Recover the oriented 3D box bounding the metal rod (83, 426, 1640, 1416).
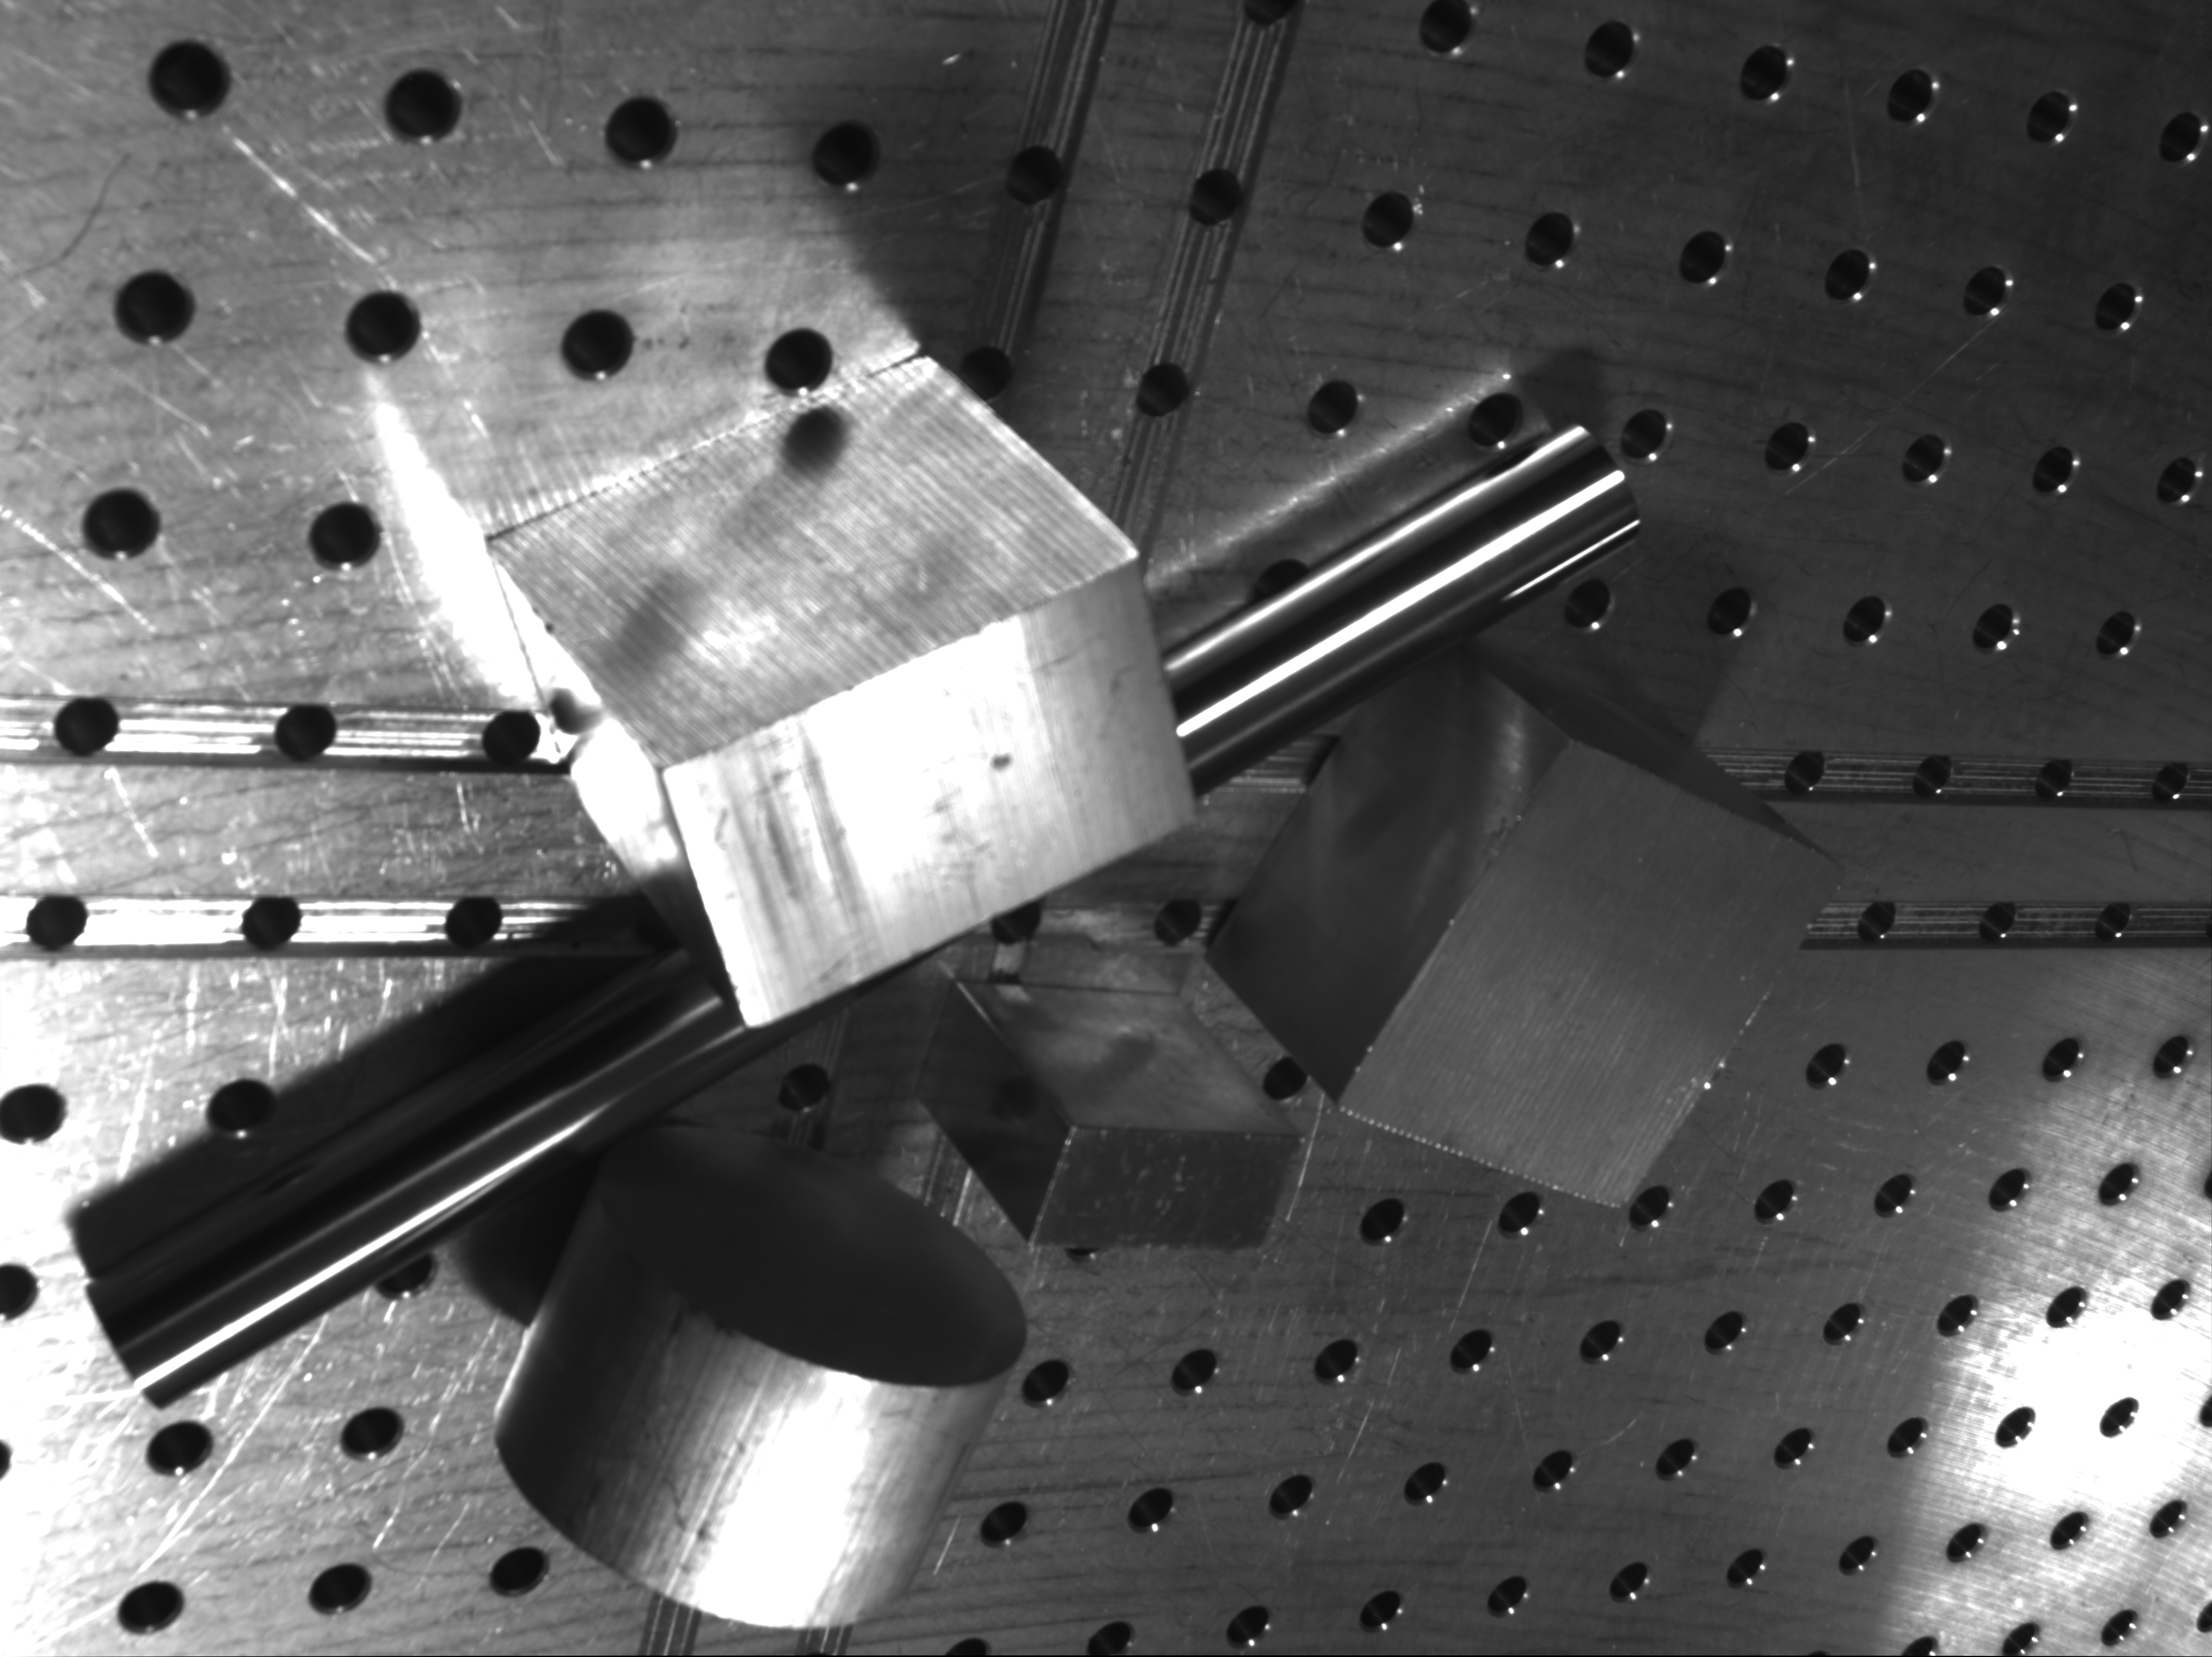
[{"bbox_3d":[-0.037,0.013,0.639,0.300,0.025,0.025,-30,129,-11],"label":"metal rod"}]

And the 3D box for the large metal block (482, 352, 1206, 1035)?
[{"bbox_3d":[-0.042,-0.024,0.580,0.080,0.080,0.050,-26,128,-14],"label":"large metal block"}]

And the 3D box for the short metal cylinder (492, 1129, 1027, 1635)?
[{"bbox_3d":[-0.061,0.096,0.641,0.080,0.080,0.050,13,111,-35],"label":"short metal cylinder"}]

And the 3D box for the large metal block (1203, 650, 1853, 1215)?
[{"bbox_3d":[0.079,0.018,0.692,0.080,0.050,0.080,22,106,-38],"label":"large metal block"}]

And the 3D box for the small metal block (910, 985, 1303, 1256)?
[{"bbox_3d":[0.000,0.053,0.671,0.050,0.050,0.025,5,115,-33],"label":"small metal block"}]
